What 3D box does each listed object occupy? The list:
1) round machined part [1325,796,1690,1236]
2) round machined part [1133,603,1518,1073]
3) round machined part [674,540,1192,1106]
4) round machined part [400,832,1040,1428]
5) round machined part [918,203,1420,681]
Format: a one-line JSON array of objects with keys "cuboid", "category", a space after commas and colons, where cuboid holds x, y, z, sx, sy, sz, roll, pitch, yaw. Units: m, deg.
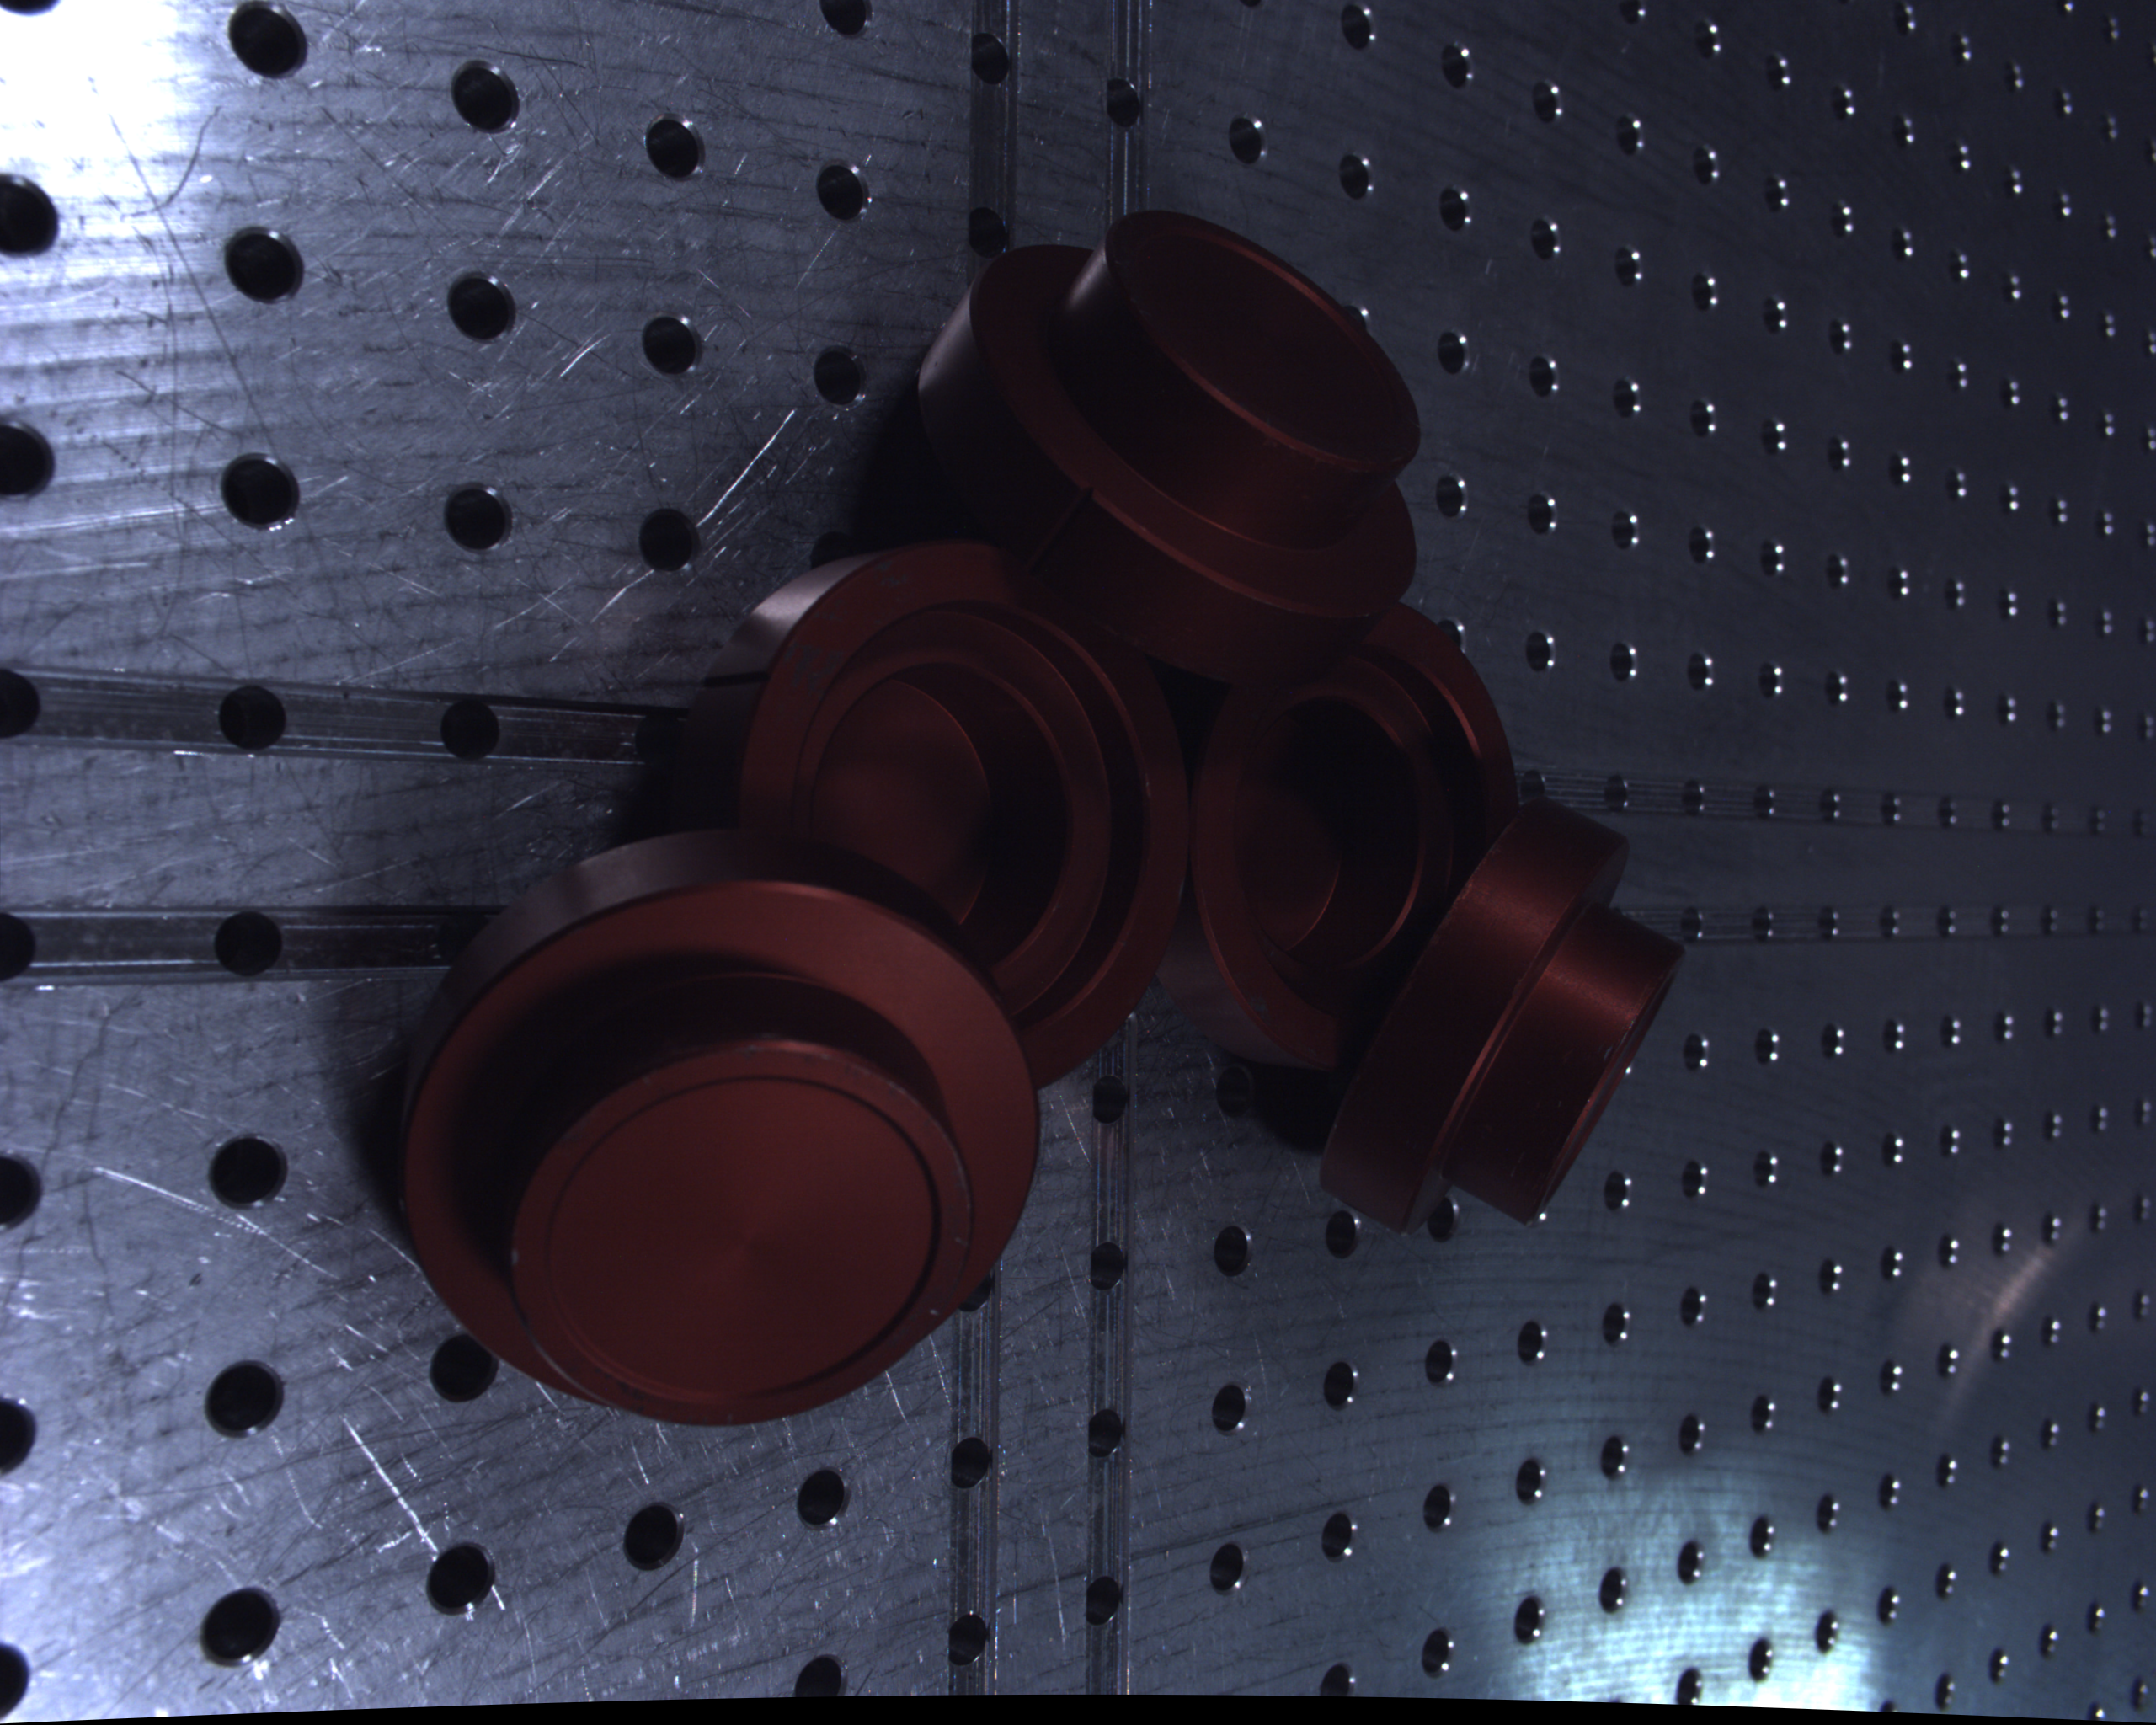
[{"cuboid": [0.096, 0.038, 0.446, 0.098, 0.042, 0.098, -50, 158, -29], "category": "round machined part"}, {"cuboid": [0.046, -0.006, 0.439, 0.099, 0.042, 0.097, 0, 90, -40], "category": "round machined part"}, {"cuboid": [-0.029, -0.007, 0.374, 0.099, 0.042, 0.097, 0, 90, -40], "category": "round machined part"}, {"cuboid": [-0.054, 0.048, 0.324, 0.099, 0.042, 0.097, -6, 116, -13], "category": "round machined part"}, {"cuboid": [0.023, -0.083, 0.386, 0.099, 0.042, 0.098, 23, 40, -21], "category": "round machined part"}]
